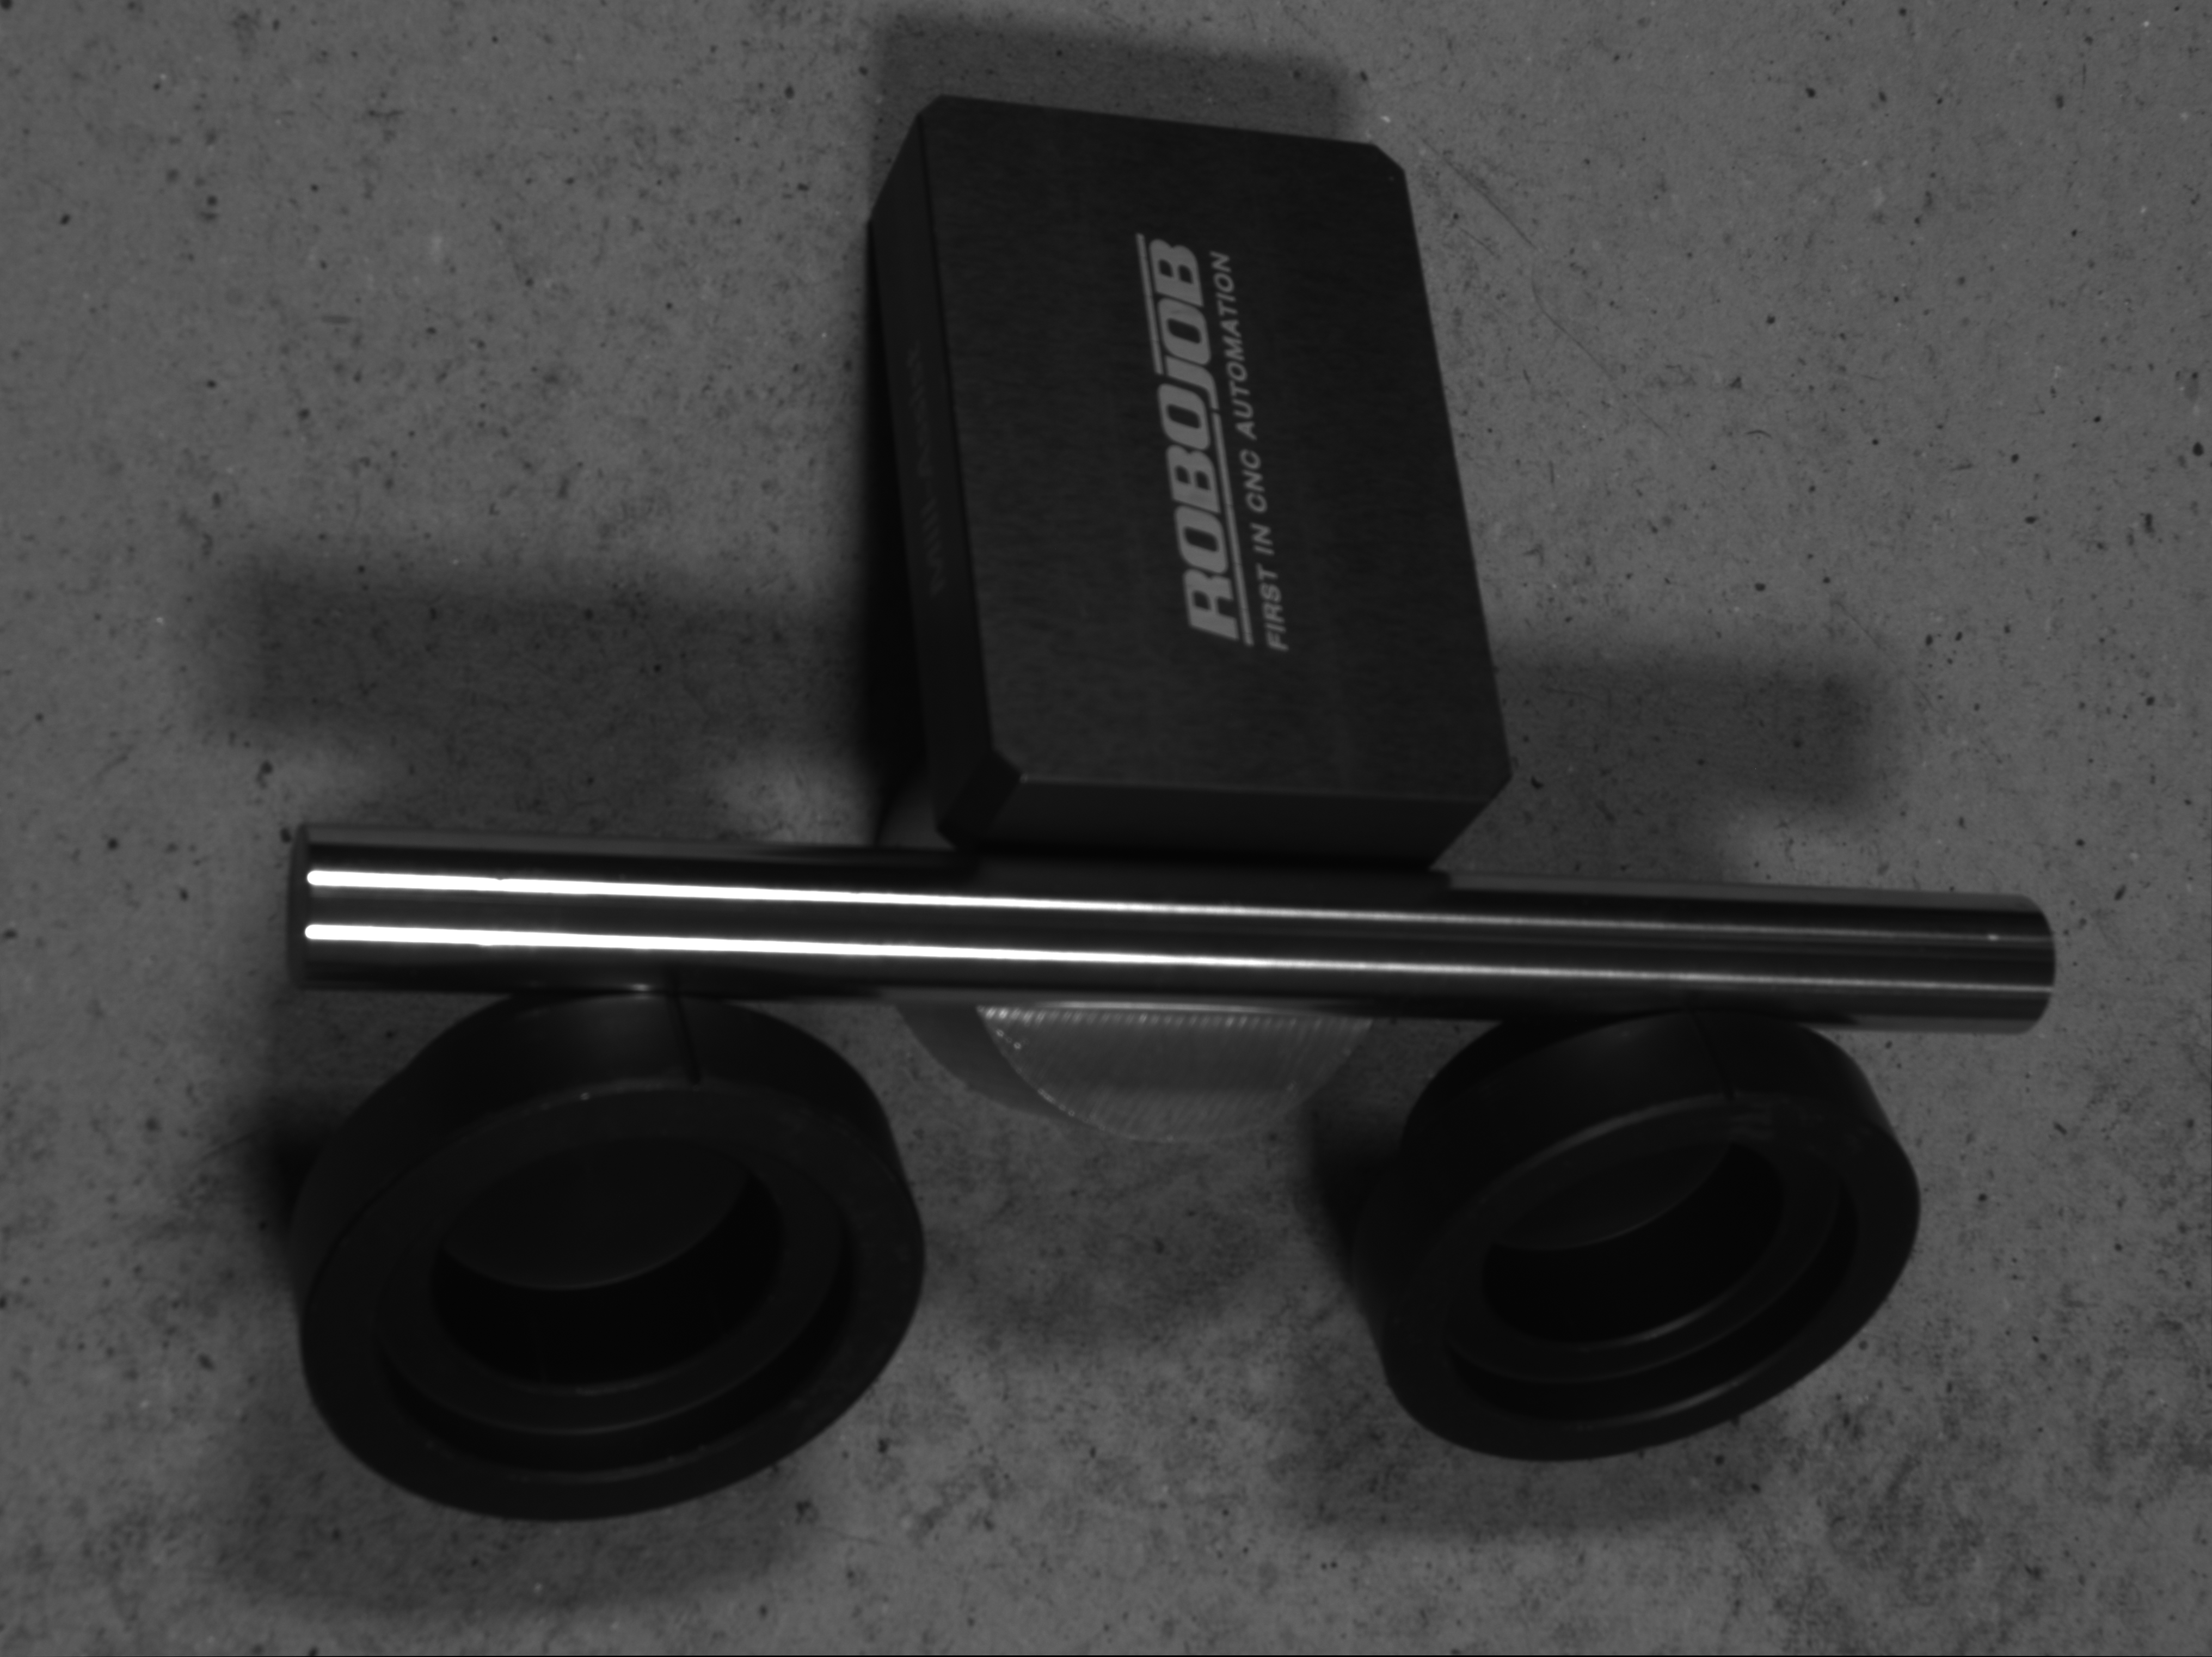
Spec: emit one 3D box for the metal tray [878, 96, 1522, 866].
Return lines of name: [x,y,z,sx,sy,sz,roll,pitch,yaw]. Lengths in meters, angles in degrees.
metal tray: [0.014,-0.058,0.617,0.090,0.030,0.130,2,63,-20]

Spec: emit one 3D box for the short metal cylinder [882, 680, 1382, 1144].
short metal cylinder: [0.005,0.012,0.633,0.080,0.050,0.080,0,90,-20]

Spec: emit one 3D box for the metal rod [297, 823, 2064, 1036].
metal rod: [0.022,0.018,0.599,0.301,0.025,0.025,3,89,-20]

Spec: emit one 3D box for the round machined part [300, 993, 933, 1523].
round machined part: [-0.080,0.063,0.588,0.098,0.042,0.098,-10,131,-12]

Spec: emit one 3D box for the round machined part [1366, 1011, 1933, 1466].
round machined part: [0.093,0.066,0.649,0.098,0.042,0.098,-10,135,-10]
